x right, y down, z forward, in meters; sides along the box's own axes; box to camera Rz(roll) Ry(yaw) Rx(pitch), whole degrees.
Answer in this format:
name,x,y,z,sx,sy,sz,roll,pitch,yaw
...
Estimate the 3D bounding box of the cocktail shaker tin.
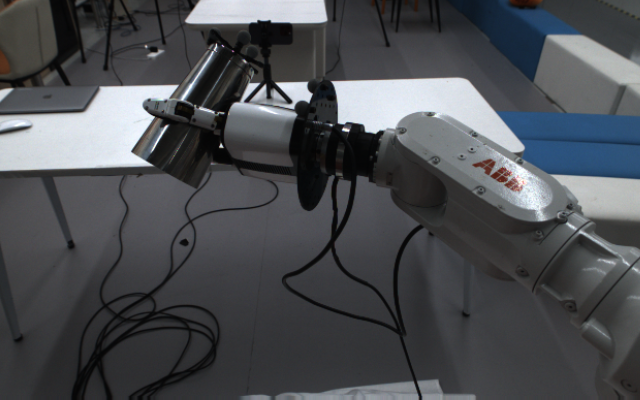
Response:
name,x,y,z,sx,sy,sz,roll,pitch,yaw
cocktail shaker tin,-0.156,-0.114,0.621,0.093,0.093,0.170,26,83,31
